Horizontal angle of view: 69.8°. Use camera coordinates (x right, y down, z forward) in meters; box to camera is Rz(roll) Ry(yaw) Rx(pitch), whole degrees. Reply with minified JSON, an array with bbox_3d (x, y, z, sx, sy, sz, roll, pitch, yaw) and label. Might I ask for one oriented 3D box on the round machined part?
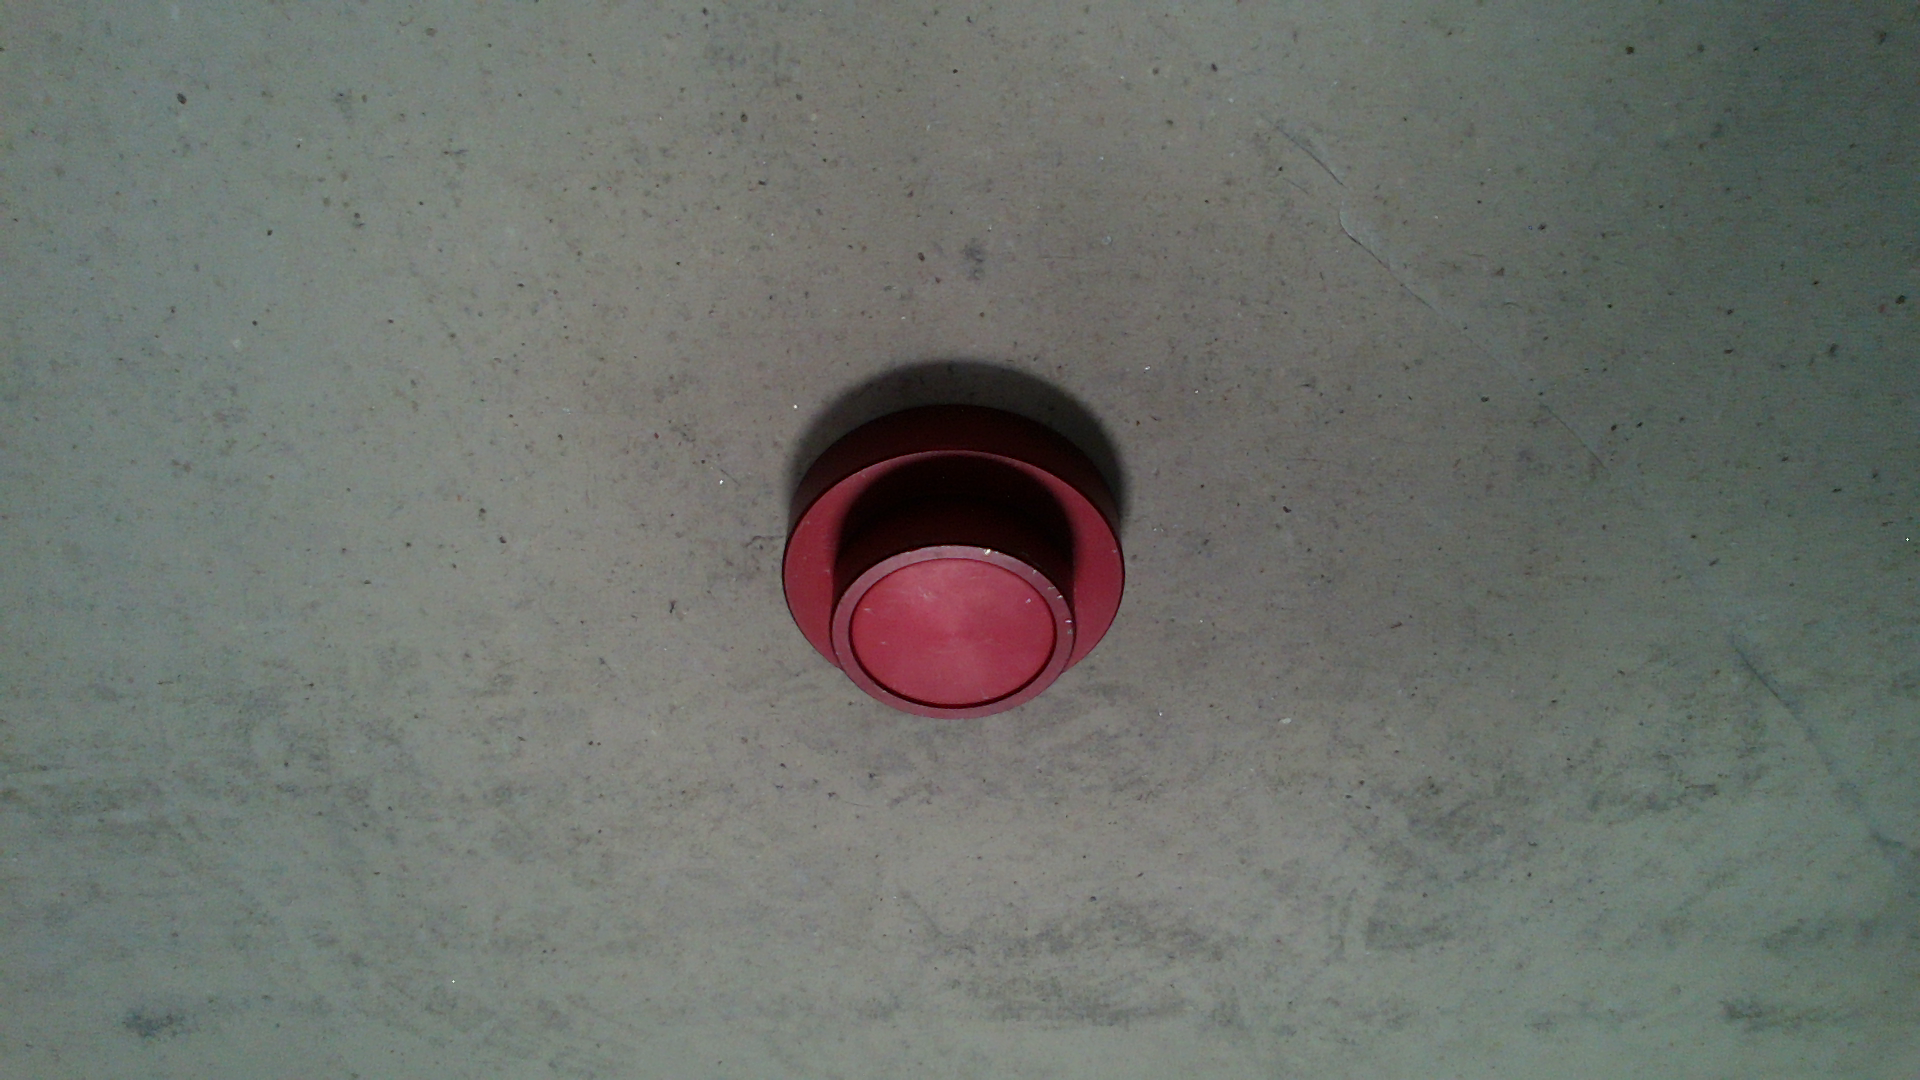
[{"bbox_3d":[-0.002,0.013,0.390,0.098,0.042,0.098,0,130,0],"label":"round machined part"}]
